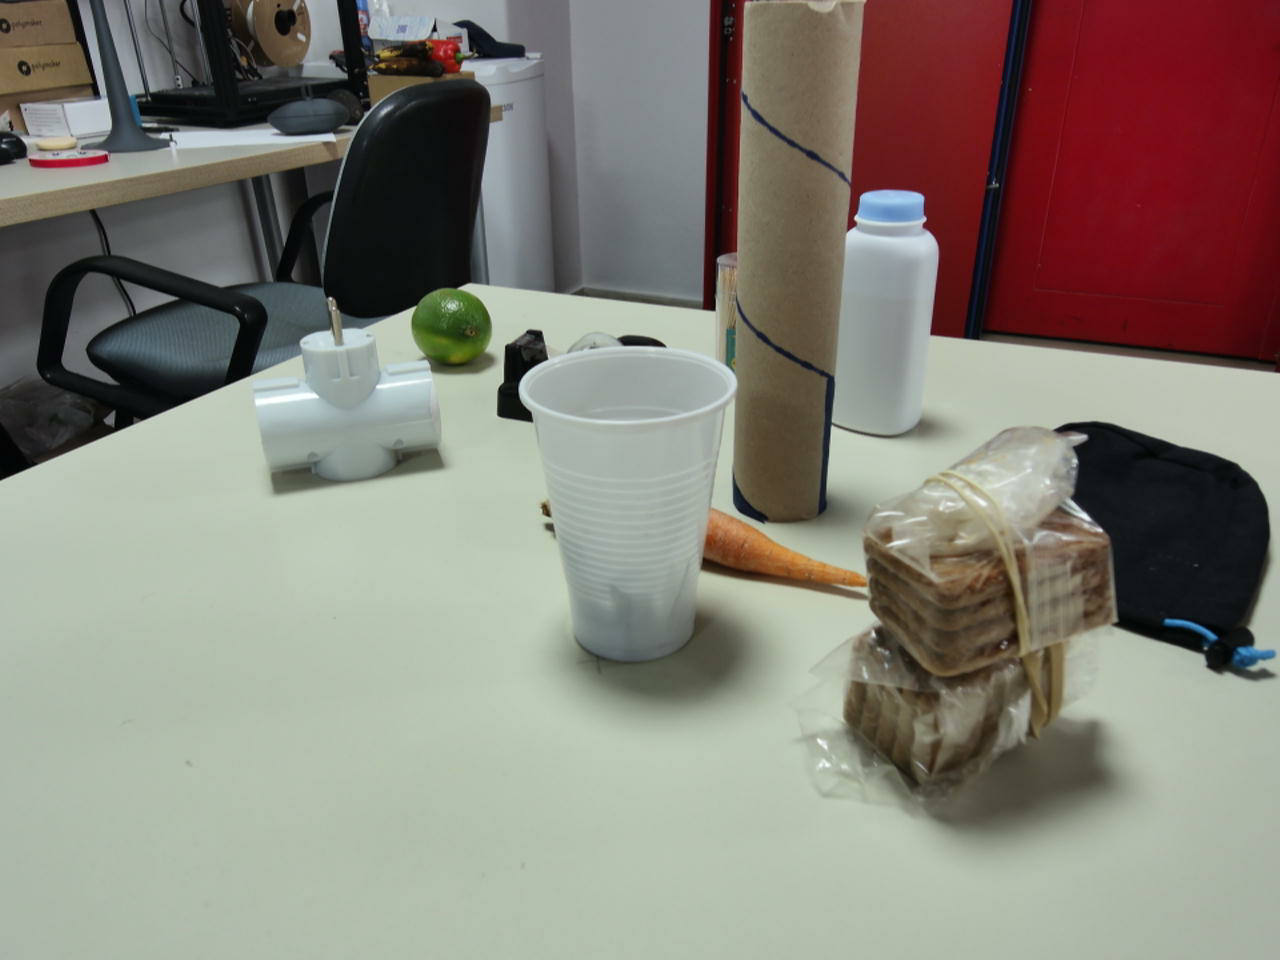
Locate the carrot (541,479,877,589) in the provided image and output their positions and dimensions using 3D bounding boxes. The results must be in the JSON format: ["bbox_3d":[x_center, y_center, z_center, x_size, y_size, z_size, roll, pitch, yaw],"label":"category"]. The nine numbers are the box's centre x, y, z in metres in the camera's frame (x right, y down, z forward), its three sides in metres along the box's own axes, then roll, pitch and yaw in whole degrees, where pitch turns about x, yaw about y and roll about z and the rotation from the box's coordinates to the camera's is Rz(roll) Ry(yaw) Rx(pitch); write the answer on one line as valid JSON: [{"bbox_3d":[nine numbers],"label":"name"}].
[{"bbox_3d":[0.027,0.023,0.451,0.163,0.029,0.031,11,26,23],"label":"carrot"}]
